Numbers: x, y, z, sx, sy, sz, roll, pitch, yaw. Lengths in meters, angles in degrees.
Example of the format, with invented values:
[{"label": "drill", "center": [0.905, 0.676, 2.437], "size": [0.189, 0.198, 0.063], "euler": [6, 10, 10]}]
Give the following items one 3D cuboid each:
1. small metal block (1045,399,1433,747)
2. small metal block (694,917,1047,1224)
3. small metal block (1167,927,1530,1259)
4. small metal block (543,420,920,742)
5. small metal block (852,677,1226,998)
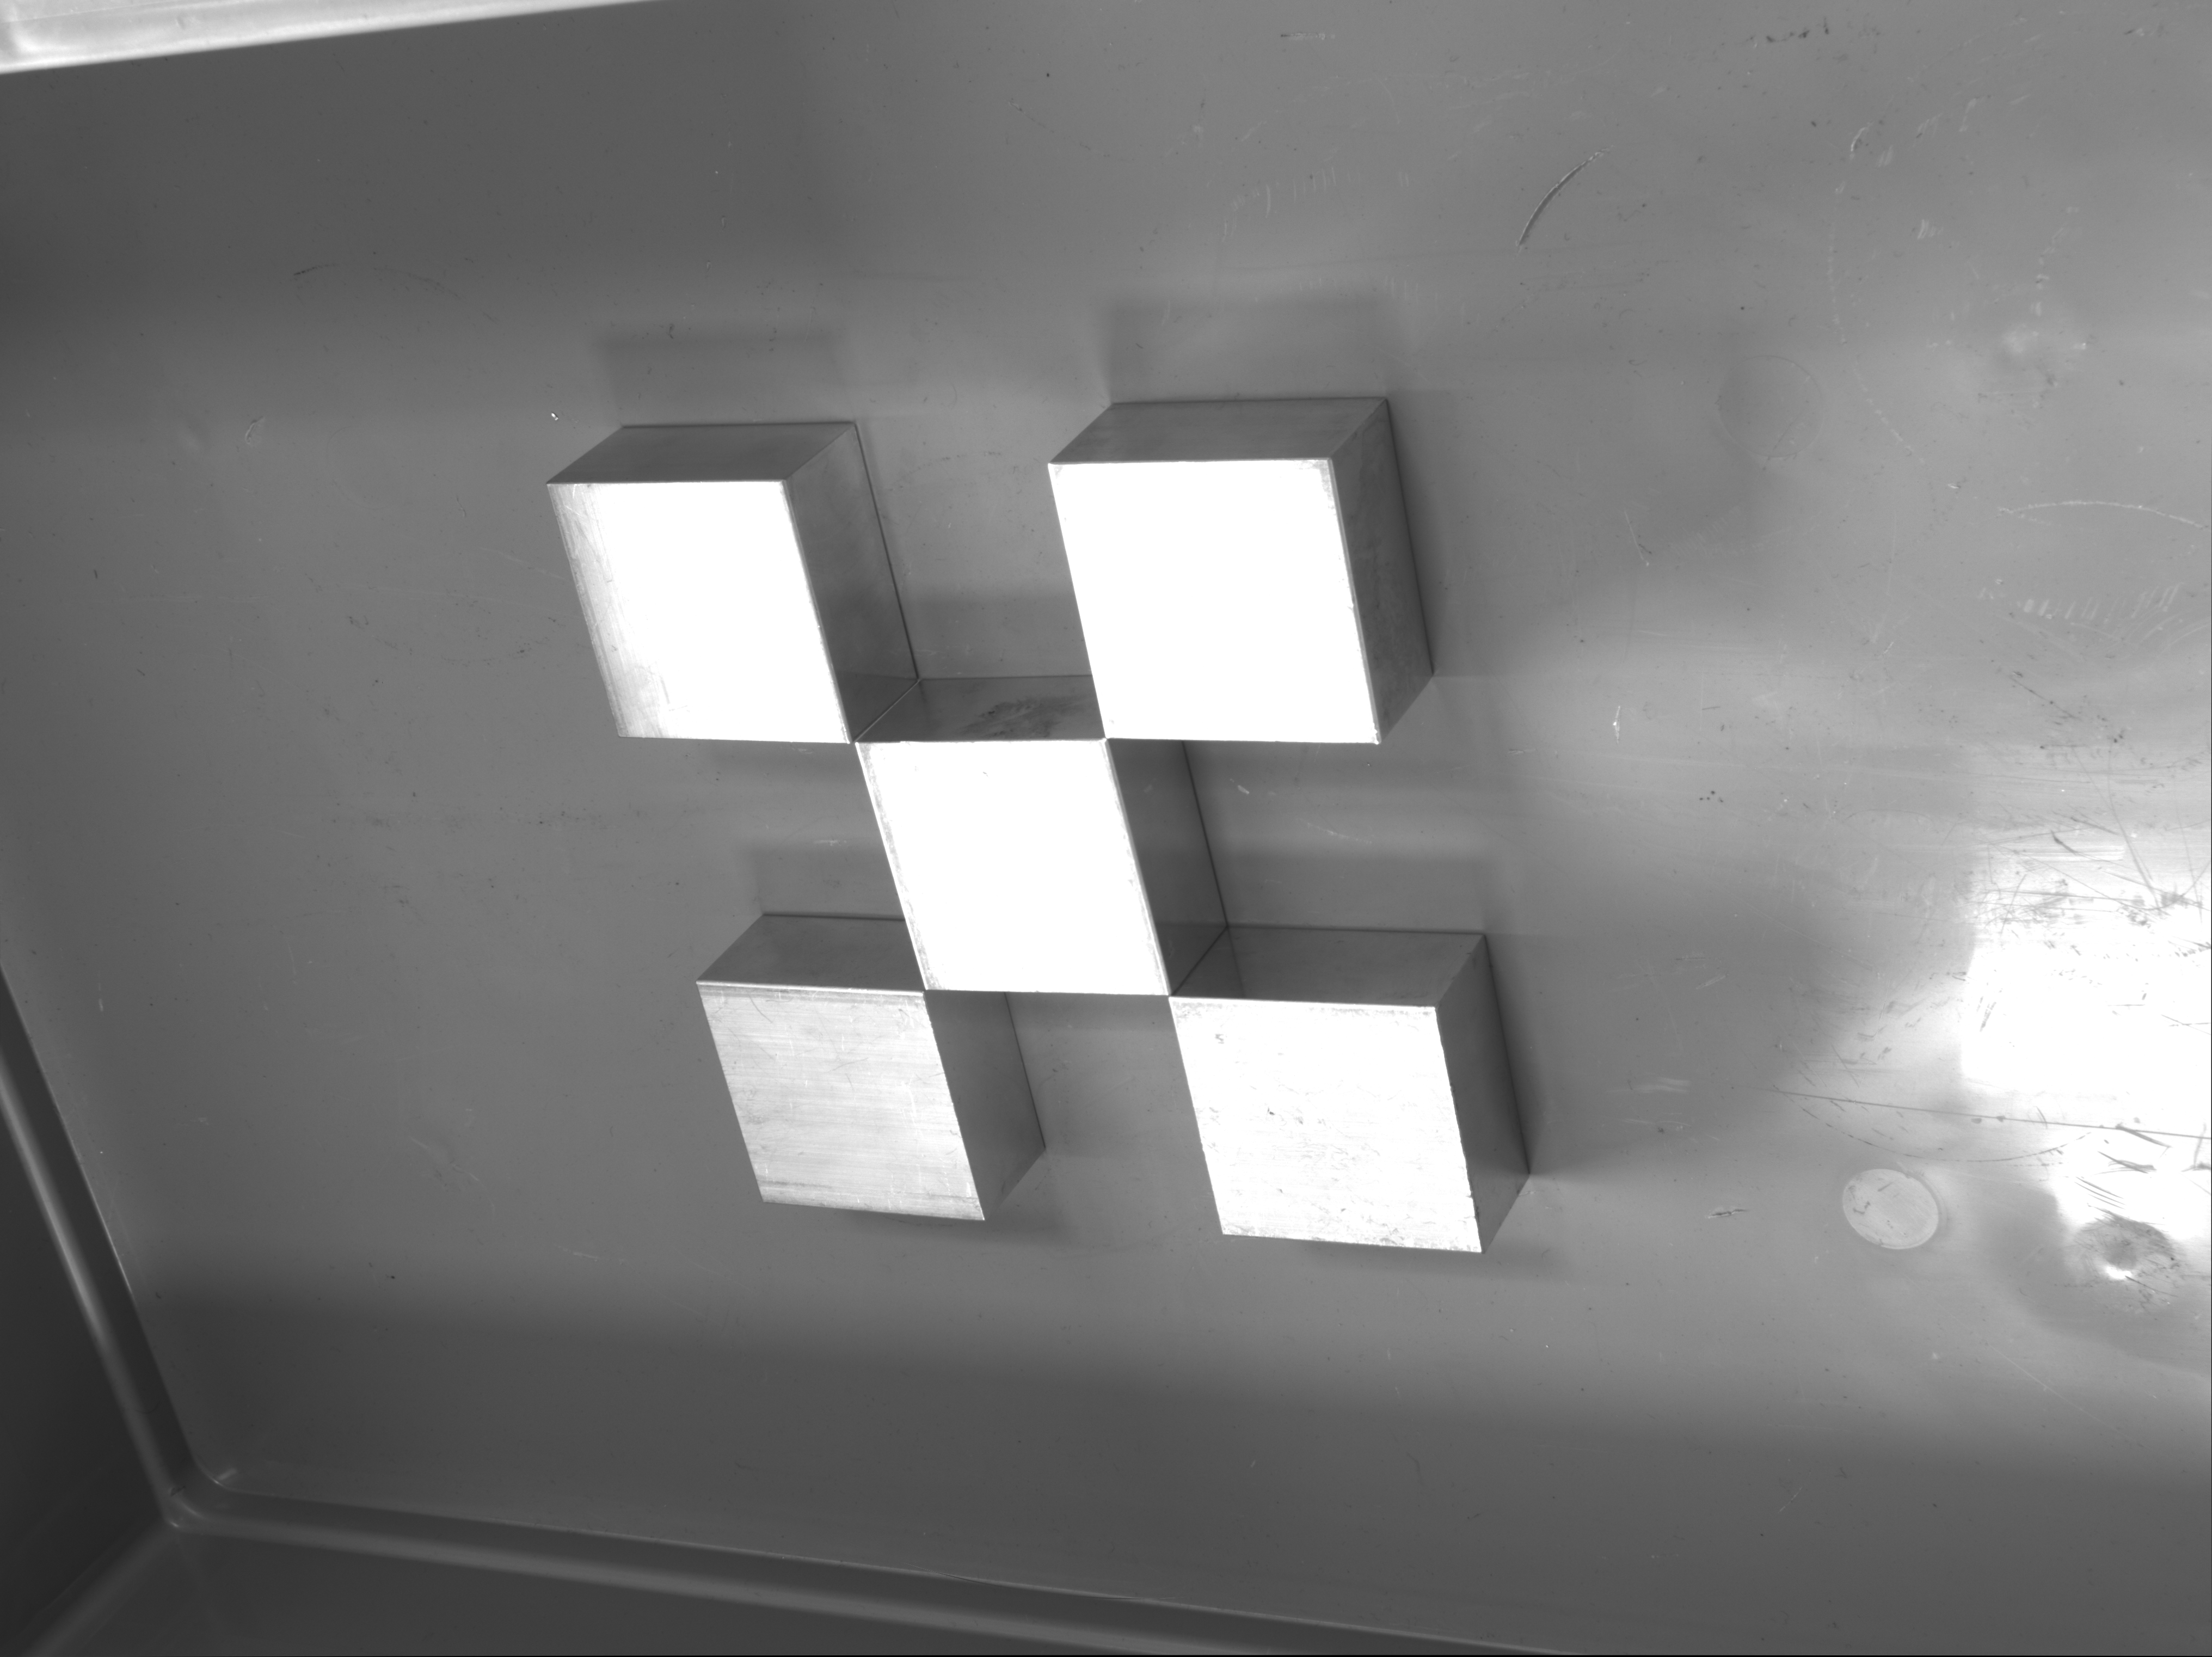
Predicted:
[{"label": "small metal block", "center": [0.022, -0.042, 0.602], "size": [0.050, 0.025, 0.050], "euler": [2, 119, 27]}, {"label": "small metal block", "center": [-0.044, 0.045, 0.692], "size": [0.050, 0.025, 0.050], "euler": [1, 119, 28]}, {"label": "small metal block", "center": [0.043, 0.046, 0.645], "size": [0.050, 0.025, 0.050], "euler": [1, 119, 28]}, {"label": "small metal block", "center": [-0.066, -0.044, 0.649], "size": [0.050, 0.025, 0.050], "euler": [1, 119, 28]}, {"label": "small metal block", "center": [-0.011, 0.001, 0.647], "size": [0.050, 0.025, 0.050], "euler": [0, 118, 28]}]
